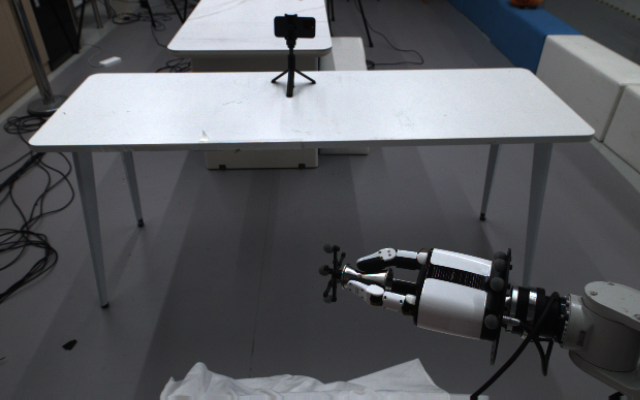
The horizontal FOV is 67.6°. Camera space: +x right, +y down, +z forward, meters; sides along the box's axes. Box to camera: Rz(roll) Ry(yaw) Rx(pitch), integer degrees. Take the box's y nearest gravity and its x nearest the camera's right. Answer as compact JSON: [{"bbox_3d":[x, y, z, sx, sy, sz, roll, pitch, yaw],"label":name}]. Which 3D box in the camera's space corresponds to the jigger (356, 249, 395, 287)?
[{"bbox_3d":[0.076,0.114,0.716,0.071,0.043,0.043,6,34,22],"label":"jigger"}]
